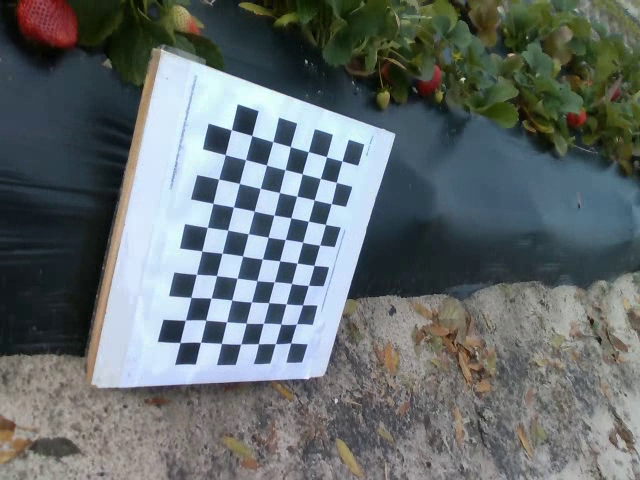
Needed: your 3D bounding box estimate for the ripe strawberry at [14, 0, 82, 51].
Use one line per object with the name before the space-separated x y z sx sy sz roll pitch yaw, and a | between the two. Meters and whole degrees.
ripe strawberry | -0.161 -0.129 0.379 0.037 0.046 0.037 -36 -14 -17
